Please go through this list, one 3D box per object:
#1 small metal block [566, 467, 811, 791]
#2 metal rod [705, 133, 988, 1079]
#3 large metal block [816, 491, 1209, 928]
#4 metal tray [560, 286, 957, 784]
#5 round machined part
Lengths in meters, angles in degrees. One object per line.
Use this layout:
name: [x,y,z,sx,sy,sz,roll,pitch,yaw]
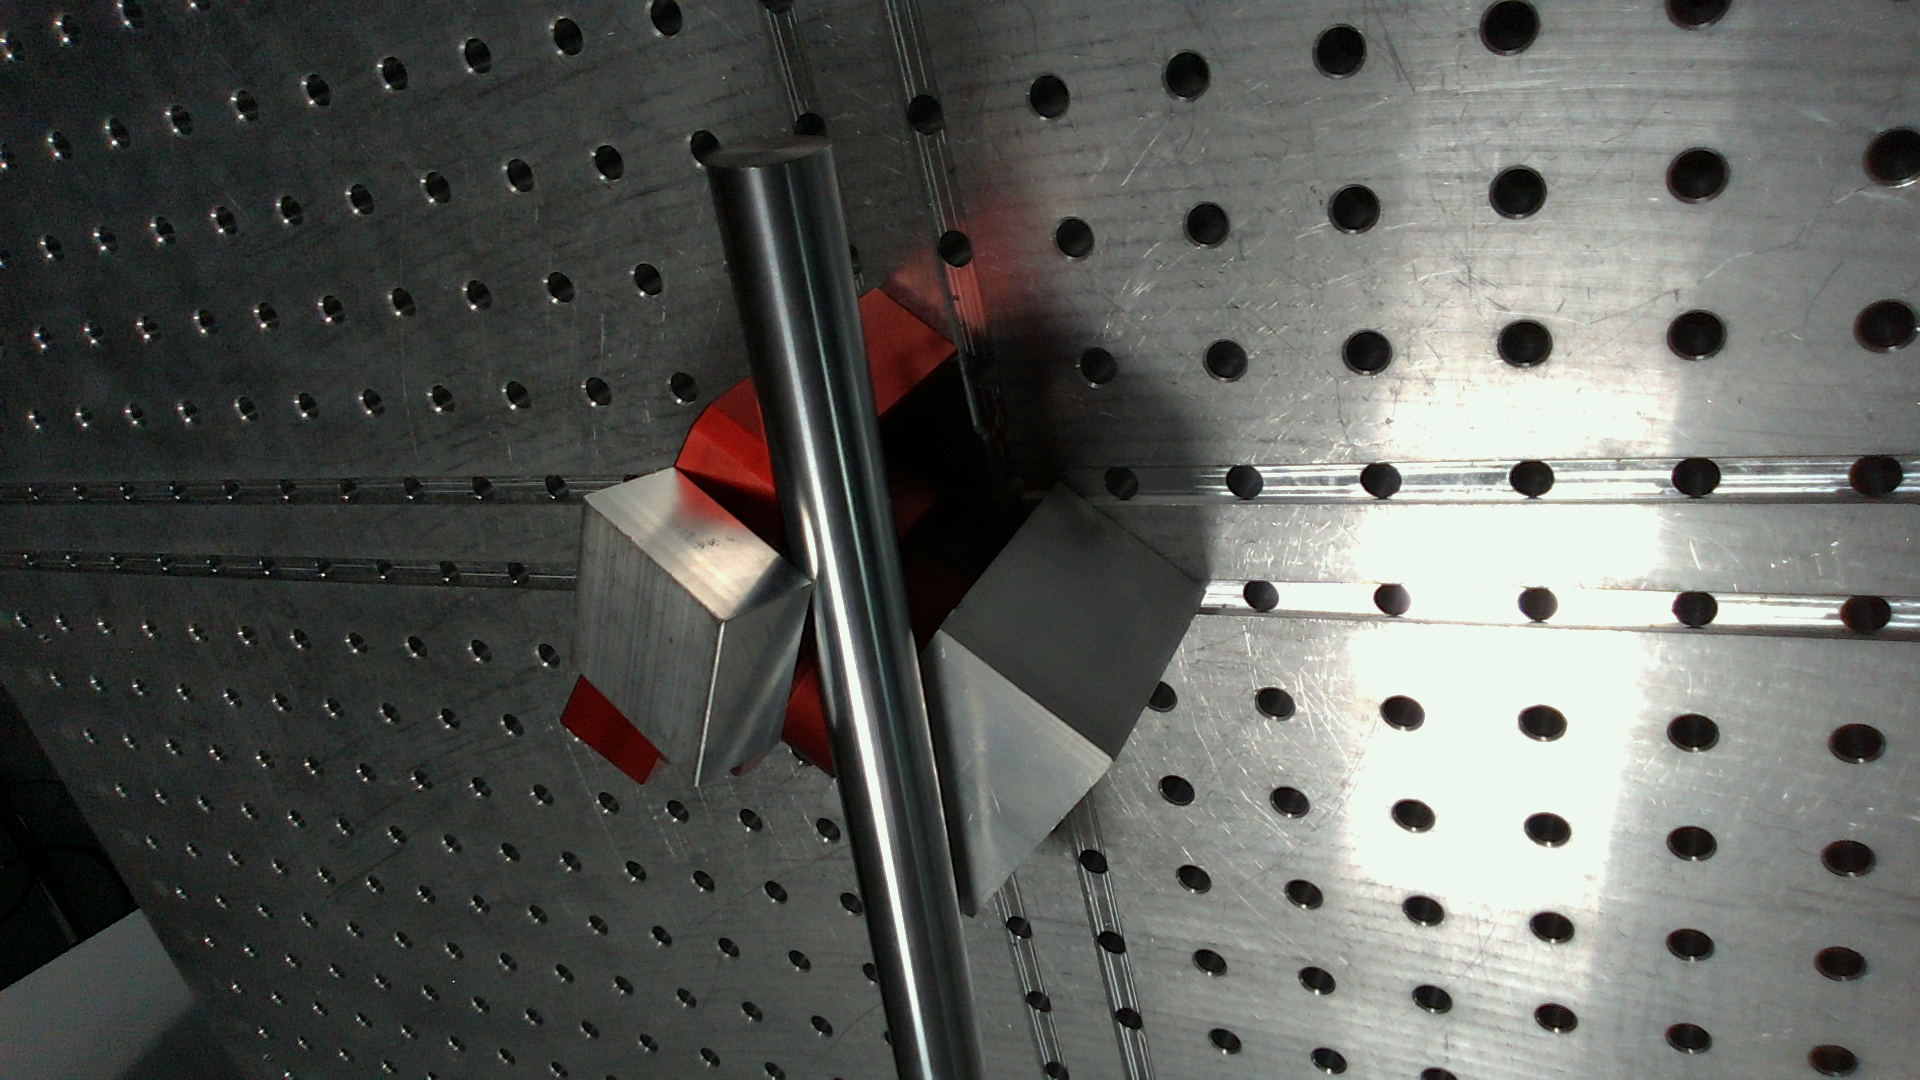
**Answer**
small metal block: [-0.064,0.020,0.316,0.050,0.025,0.050,38,130,28]
metal rod: [-0.018,0.056,0.336,0.025,0.025,0.300,6,121,25]
large metal block: [0.015,0.046,0.377,0.050,0.080,0.080,37,129,4]
metal tray: [-0.057,0.000,0.384,0.030,0.090,0.130,37,129,4]
round machined part: [-0.031,0.023,0.385,0.042,0.098,0.098,36,129,4]
